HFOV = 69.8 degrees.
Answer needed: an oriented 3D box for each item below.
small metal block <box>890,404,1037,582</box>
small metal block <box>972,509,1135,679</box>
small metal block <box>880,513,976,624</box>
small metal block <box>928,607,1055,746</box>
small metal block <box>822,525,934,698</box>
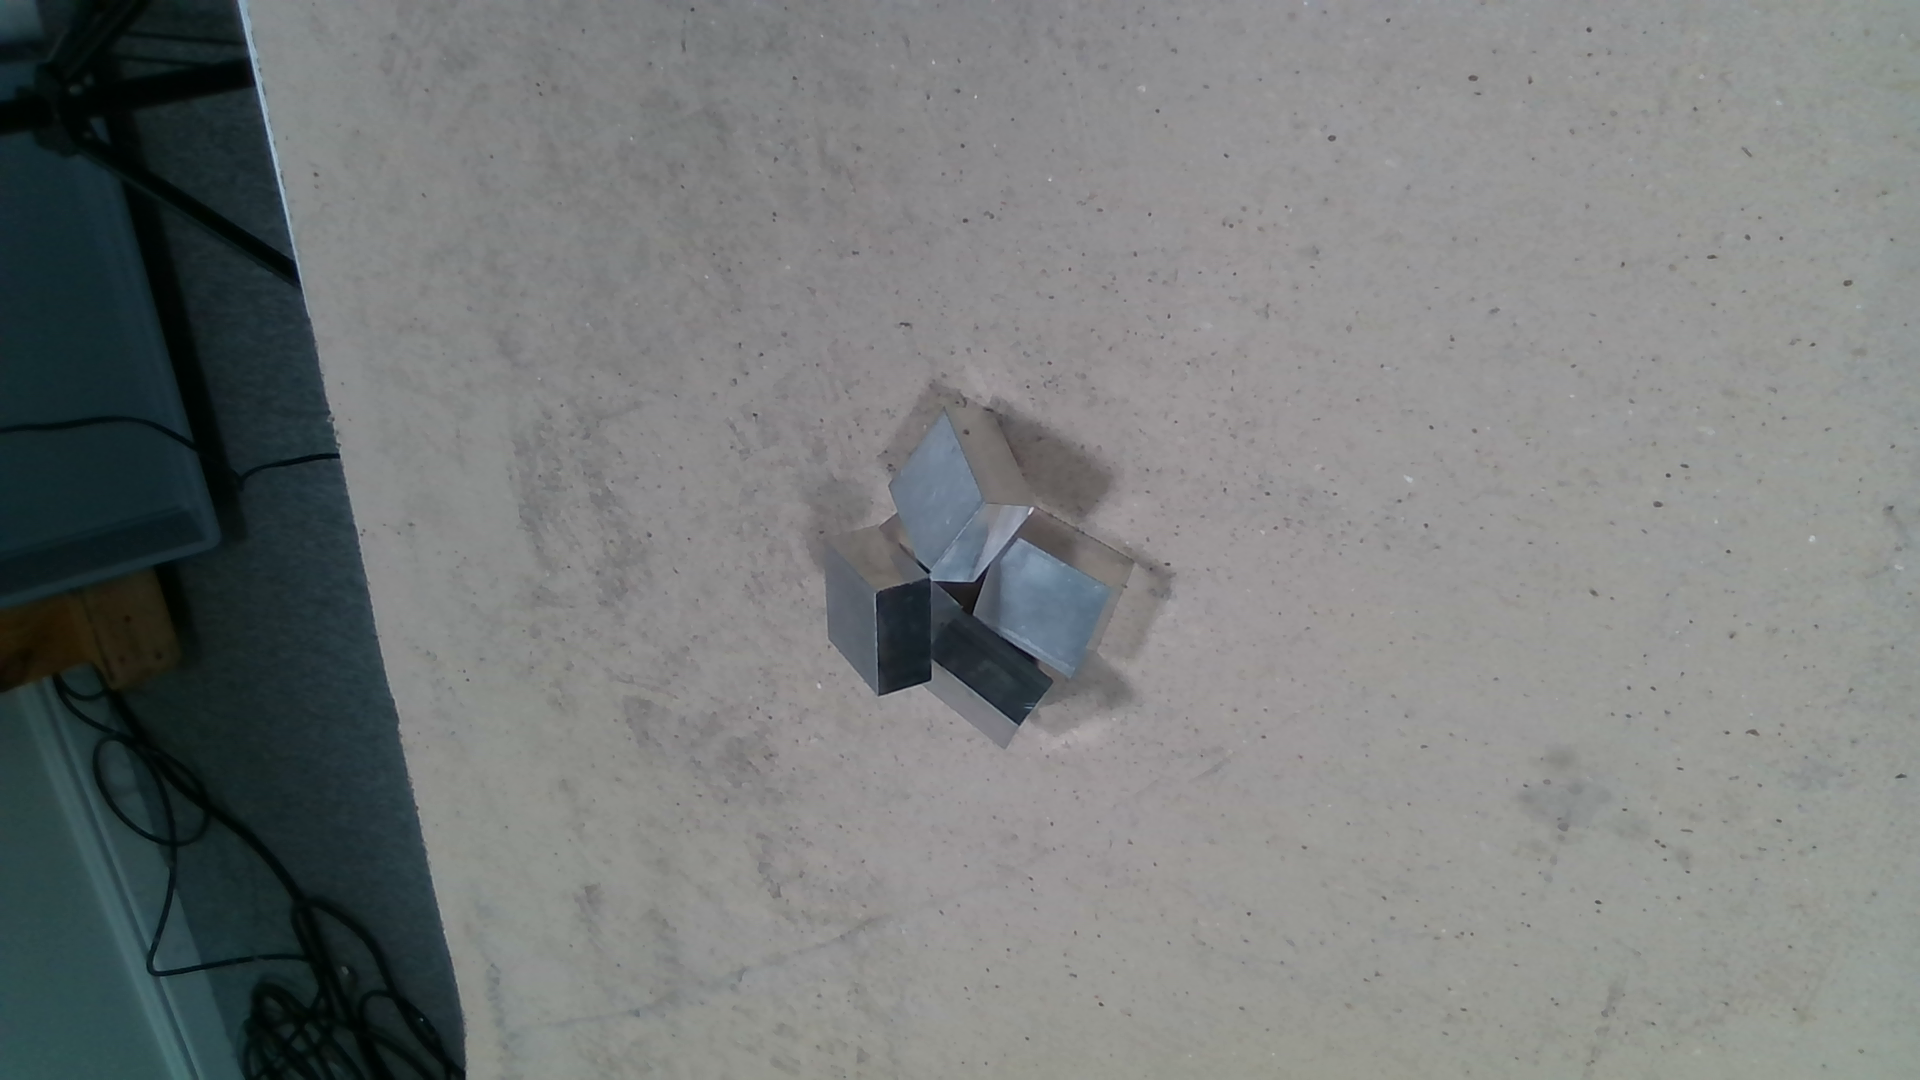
[{"bbox_3d":[0.000,-0.018,0.555,0.050,0.025,0.050,-52,47,40],"label":"small metal block"},{"bbox_3d":[0.038,0.021,0.569,0.050,0.025,0.050,29,127,15],"label":"small metal block"},{"bbox_3d":[-0.023,0.022,0.607,0.050,0.025,0.050,42,129,5],"label":"small metal block"},{"bbox_3d":[0.010,0.061,0.593,0.050,0.025,0.050,38,162,8],"label":"small metal block"},{"bbox_3d":[-0.034,0.029,0.570,0.050,0.025,0.050,41,138,50],"label":"small metal block"}]
